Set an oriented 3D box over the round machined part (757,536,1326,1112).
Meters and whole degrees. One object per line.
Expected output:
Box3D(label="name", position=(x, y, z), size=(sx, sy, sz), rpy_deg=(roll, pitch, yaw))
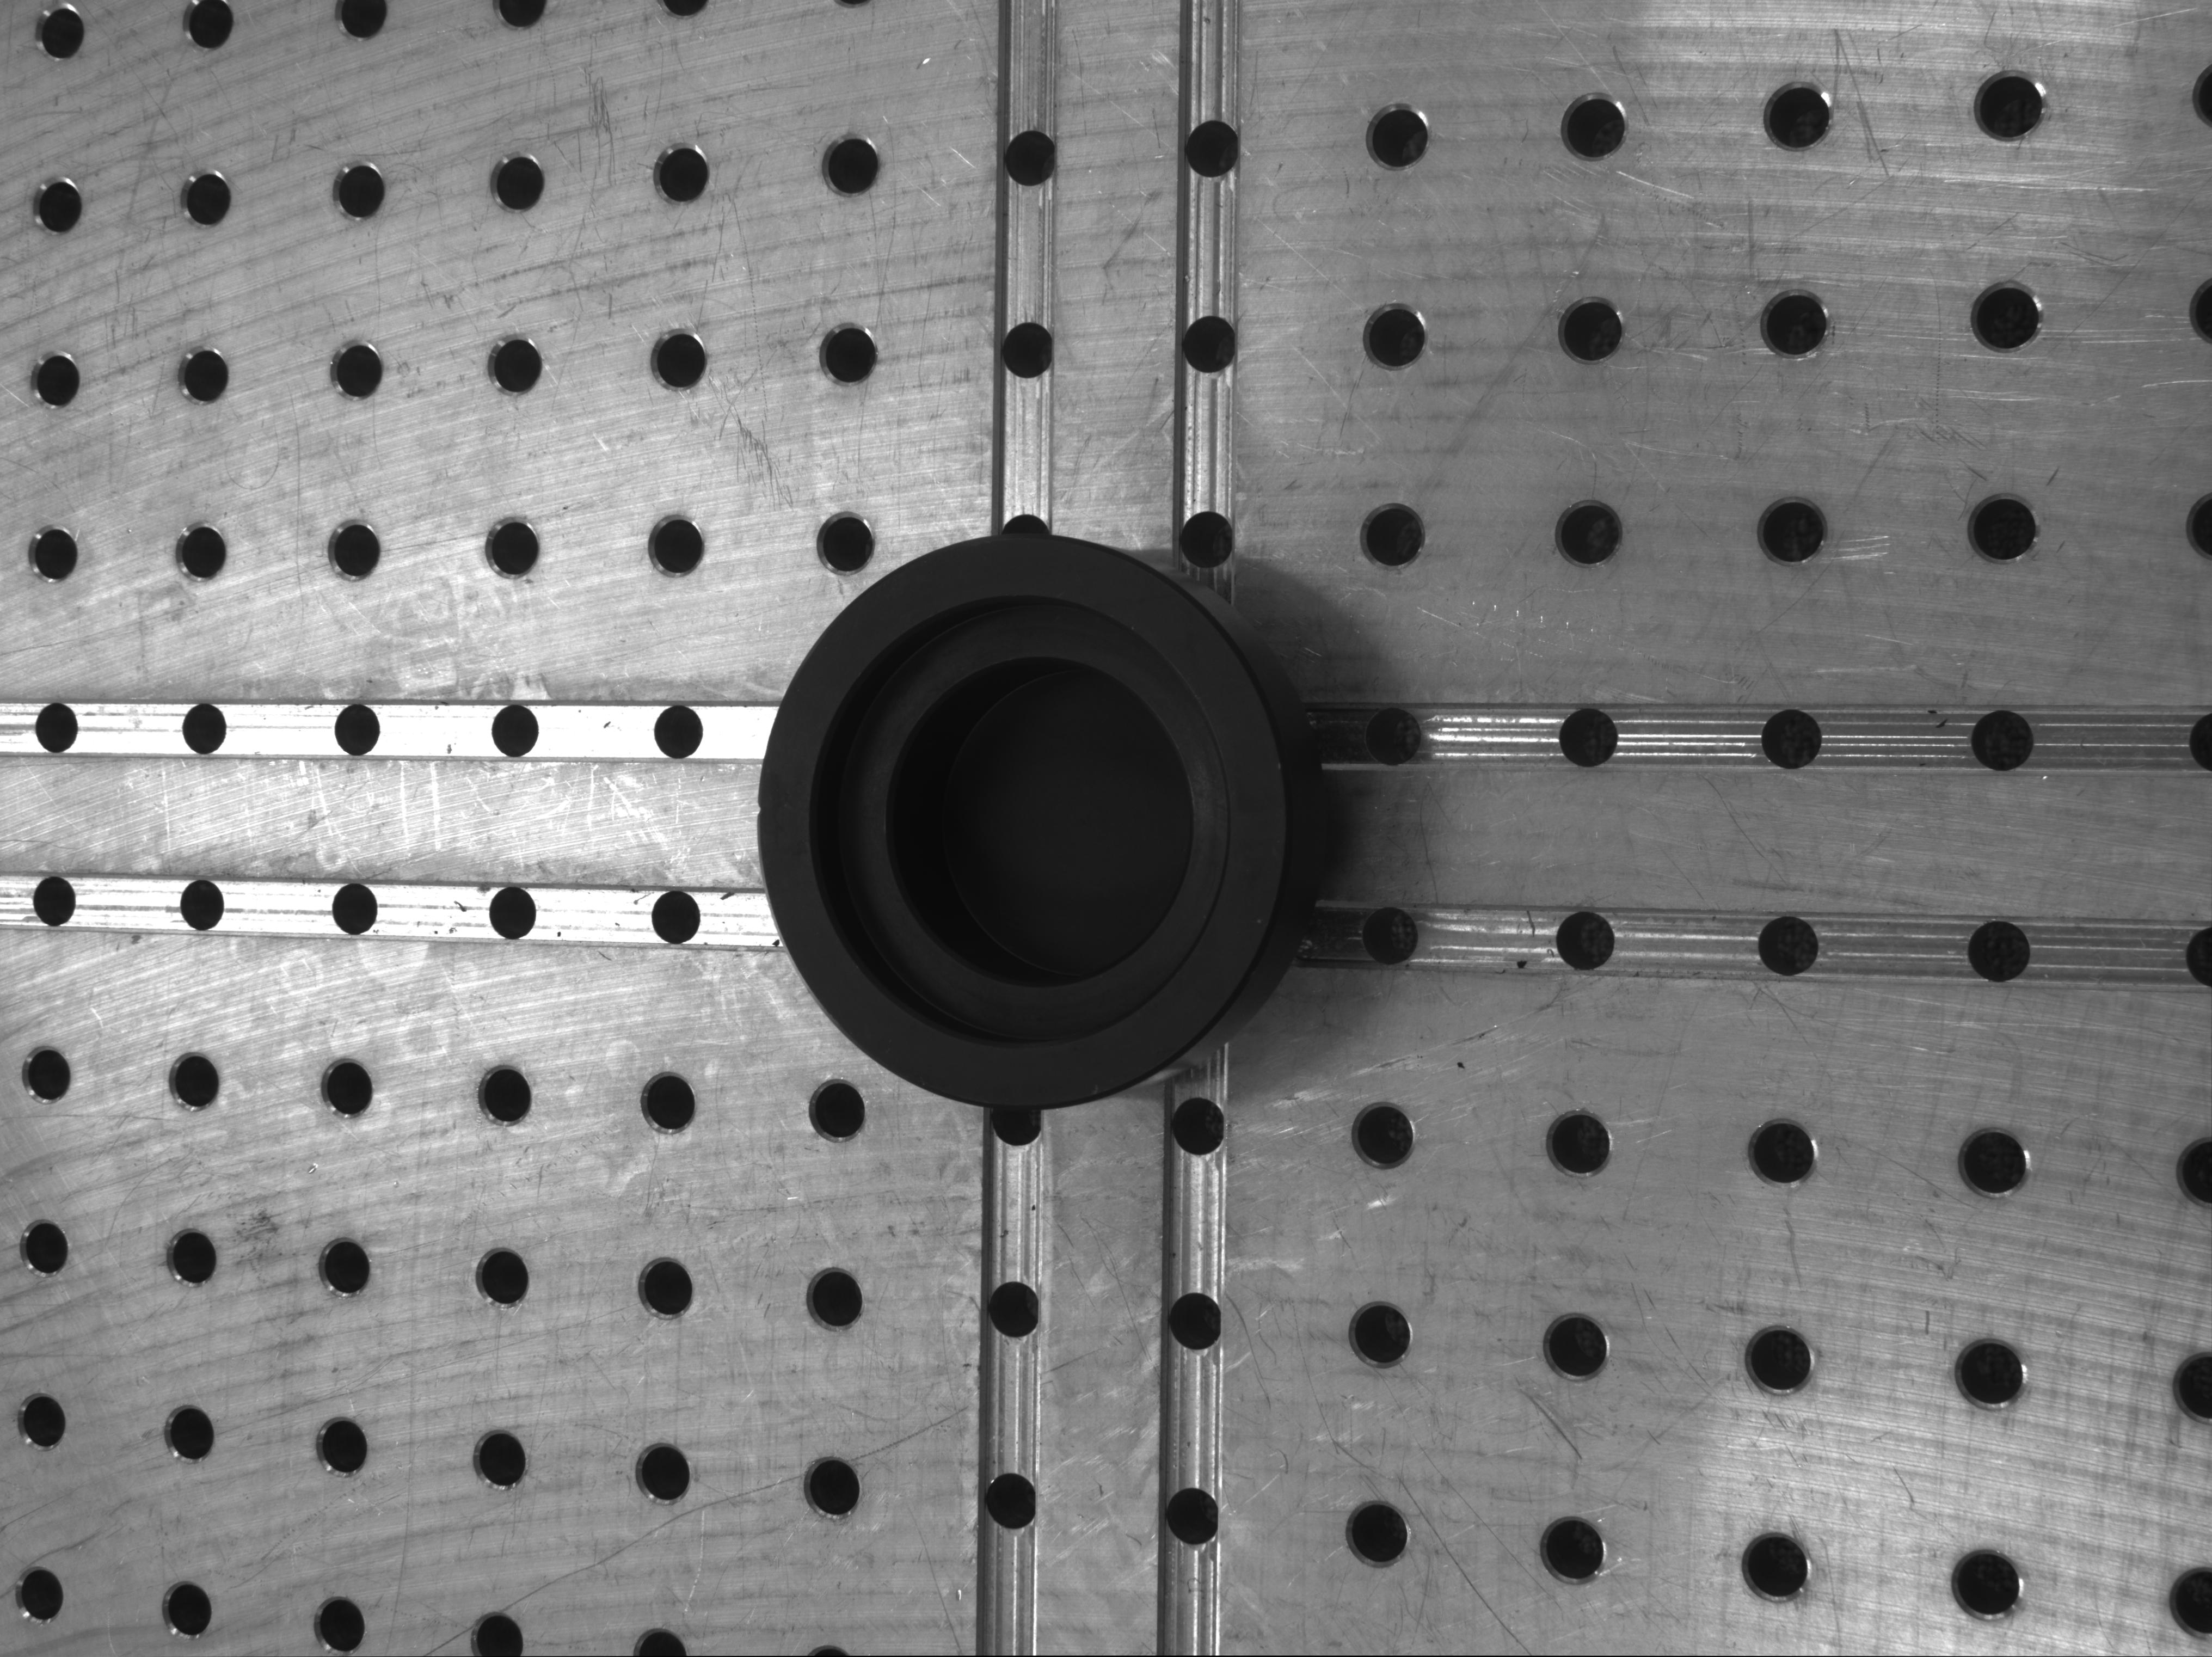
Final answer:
Box3D(label="round machined part", position=(-0.008, -0.001, 0.643), size=(0.098, 0.042, 0.098), rpy_deg=(0, 90, 20))
